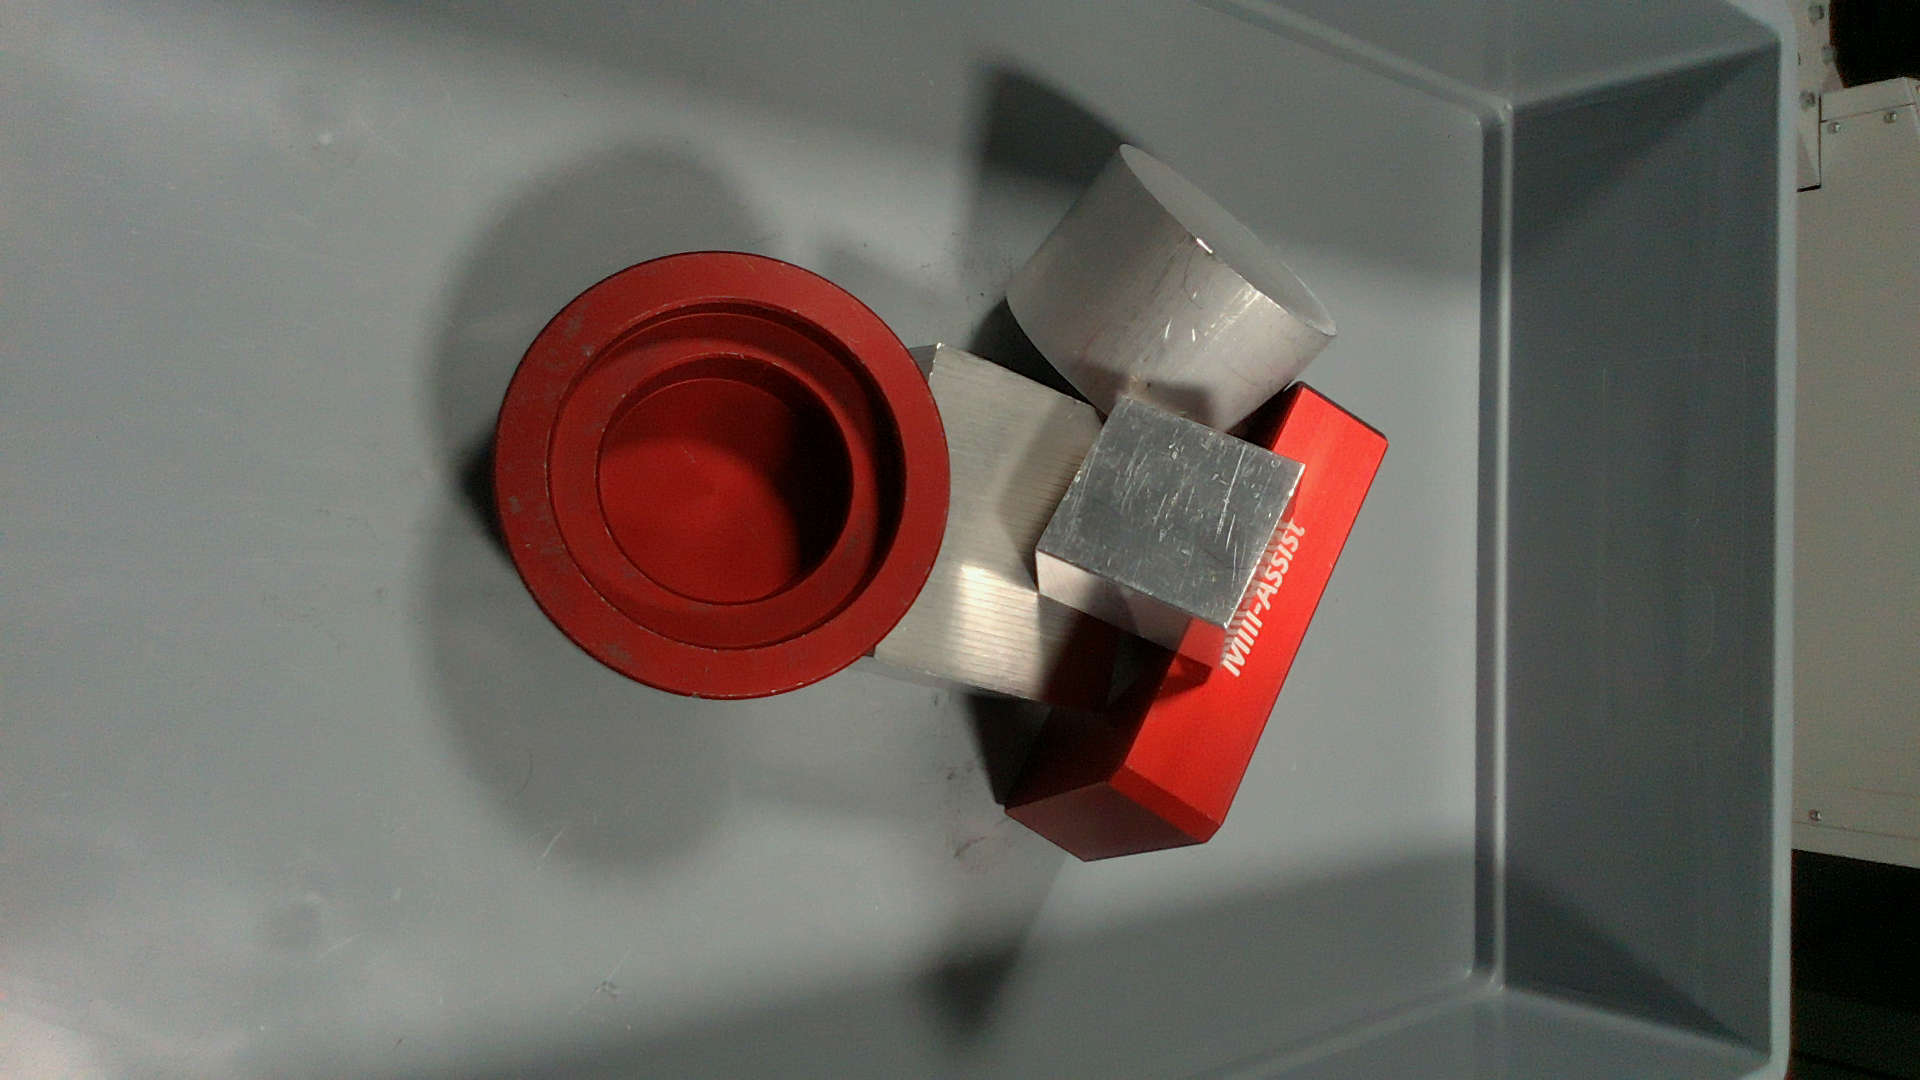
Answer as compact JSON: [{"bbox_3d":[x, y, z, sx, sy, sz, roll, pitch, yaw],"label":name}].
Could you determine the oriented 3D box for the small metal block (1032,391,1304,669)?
[{"bbox_3d":[0.052,-0.003,0.348,0.050,0.050,0.025,-60,162,-22],"label":"small metal block"}]

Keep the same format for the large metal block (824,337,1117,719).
[{"bbox_3d":[0.001,-0.001,0.372,0.080,0.050,0.080,19,78,-38],"label":"large metal block"}]

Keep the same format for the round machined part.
[{"bbox_3d":[-0.055,-0.013,0.316,0.098,0.042,0.098,2,84,-17],"label":"round machined part"}]

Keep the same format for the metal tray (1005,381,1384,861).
[{"bbox_3d":[0.066,0.026,0.399,0.030,0.090,0.130,32,67,-6],"label":"metal tray"}]

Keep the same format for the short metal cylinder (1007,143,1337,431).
[{"bbox_3d":[0.060,-0.067,0.394,0.080,0.080,0.050,21,121,-38],"label":"short metal cylinder"}]
